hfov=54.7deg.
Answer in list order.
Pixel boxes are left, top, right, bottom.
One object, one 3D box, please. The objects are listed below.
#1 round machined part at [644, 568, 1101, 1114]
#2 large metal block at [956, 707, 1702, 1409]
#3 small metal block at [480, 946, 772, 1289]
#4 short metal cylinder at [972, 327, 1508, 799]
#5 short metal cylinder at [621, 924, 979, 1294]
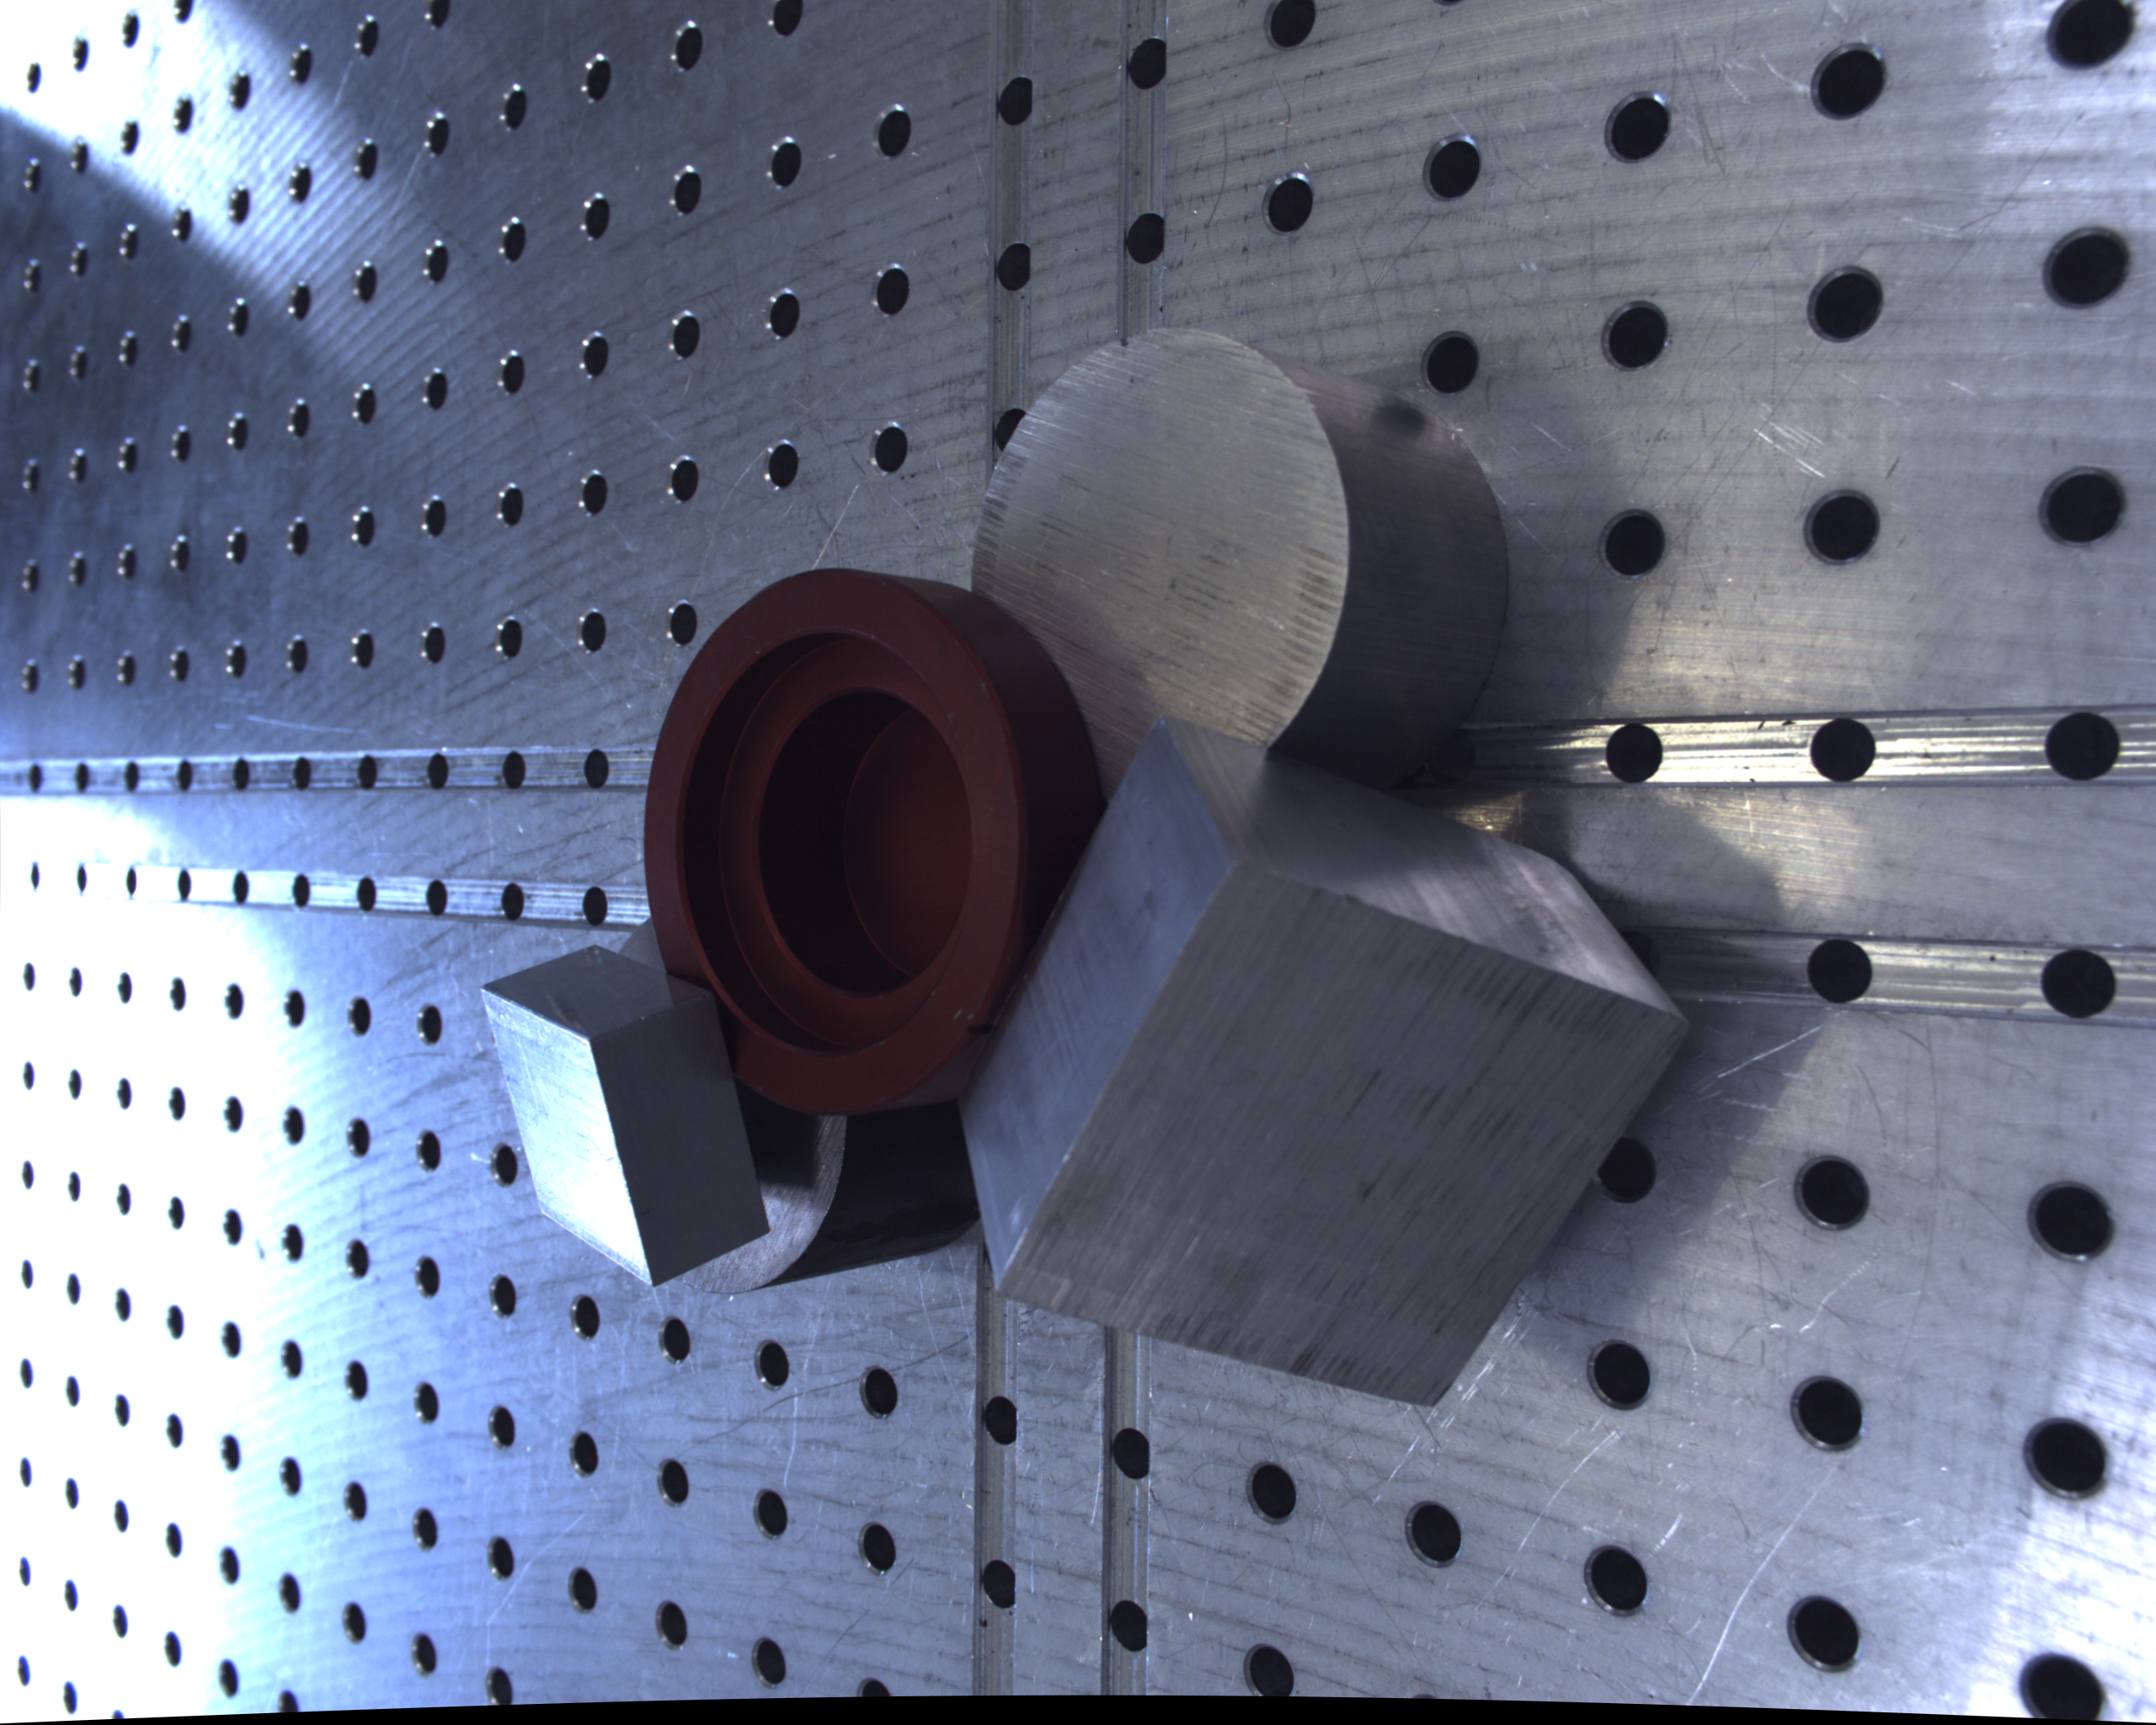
[{"bbox_3d":[-0.033,-0.004,0.387,0.098,0.042,0.097,0,90,40],"label":"round machined part"},{"bbox_3d":[0.036,0.032,0.335,0.080,0.081,0.050,-62,21,21],"label":"large metal block"},{"bbox_3d":[-0.087,0.047,0.400,0.050,0.025,0.050,13,118,51],"label":"small metal block"},{"bbox_3d":[0.028,-0.050,0.370,0.080,0.050,0.079,0,90,40],"label":"short metal cylinder"},{"bbox_3d":[-0.059,0.047,0.441,0.080,0.050,0.079,0,90,40],"label":"short metal cylinder"}]
